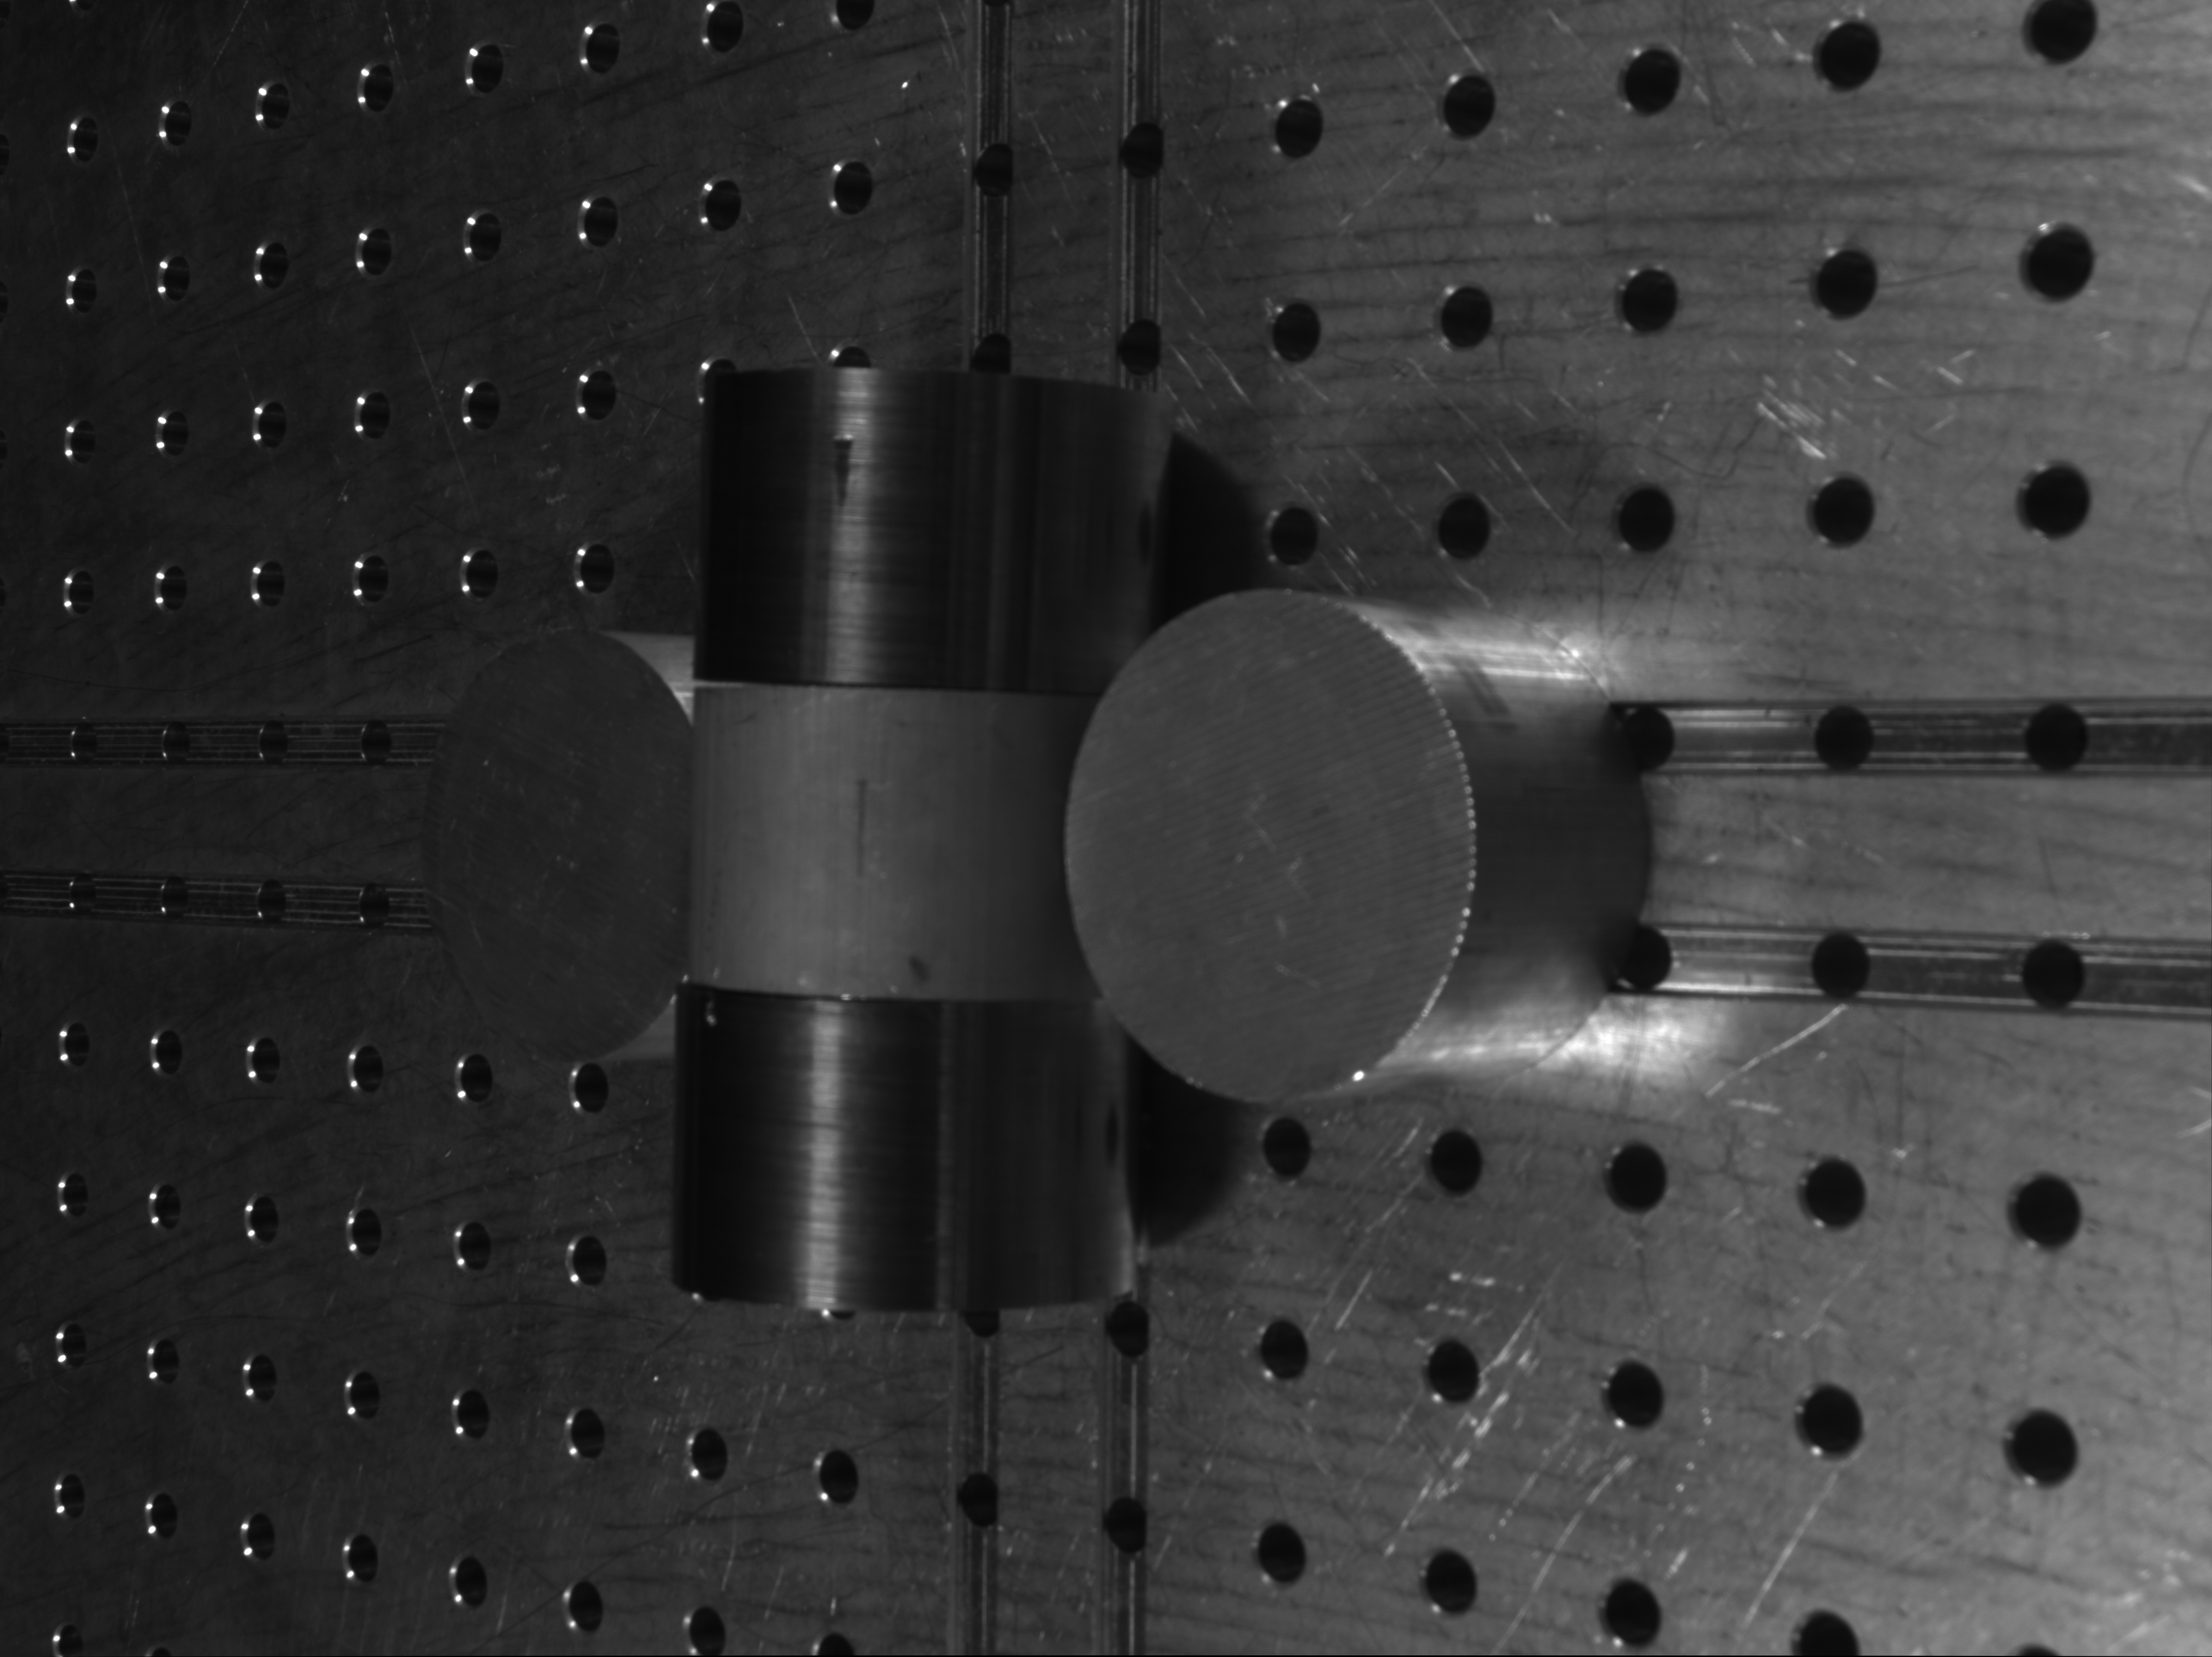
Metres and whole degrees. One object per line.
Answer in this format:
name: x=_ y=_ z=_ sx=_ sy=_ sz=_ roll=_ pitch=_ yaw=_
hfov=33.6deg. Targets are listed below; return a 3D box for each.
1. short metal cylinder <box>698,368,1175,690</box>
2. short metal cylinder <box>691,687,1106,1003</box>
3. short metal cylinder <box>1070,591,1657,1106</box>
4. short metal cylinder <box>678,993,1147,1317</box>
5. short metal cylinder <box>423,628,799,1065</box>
short metal cylinder: x=-0.029 y=-0.049 z=0.627 sx=0.080 sy=0.080 sz=0.050 roll=3 pitch=92 yaw=39
short metal cylinder: x=-0.030 y=0.002 z=0.628 sx=0.080 sy=0.080 sz=0.050 roll=2 pitch=91 yaw=39
short metal cylinder: x=0.041 y=0.003 z=0.589 sx=0.080 sy=0.050 sz=0.080 roll=0 pitch=90 yaw=39
short metal cylinder: x=-0.033 y=0.053 z=0.630 sx=0.080 sy=0.080 sz=0.050 roll=2 pitch=91 yaw=39
short metal cylinder: x=-0.083 y=0.003 z=0.690 sx=0.080 sy=0.050 sz=0.080 roll=0 pitch=90 yaw=39
